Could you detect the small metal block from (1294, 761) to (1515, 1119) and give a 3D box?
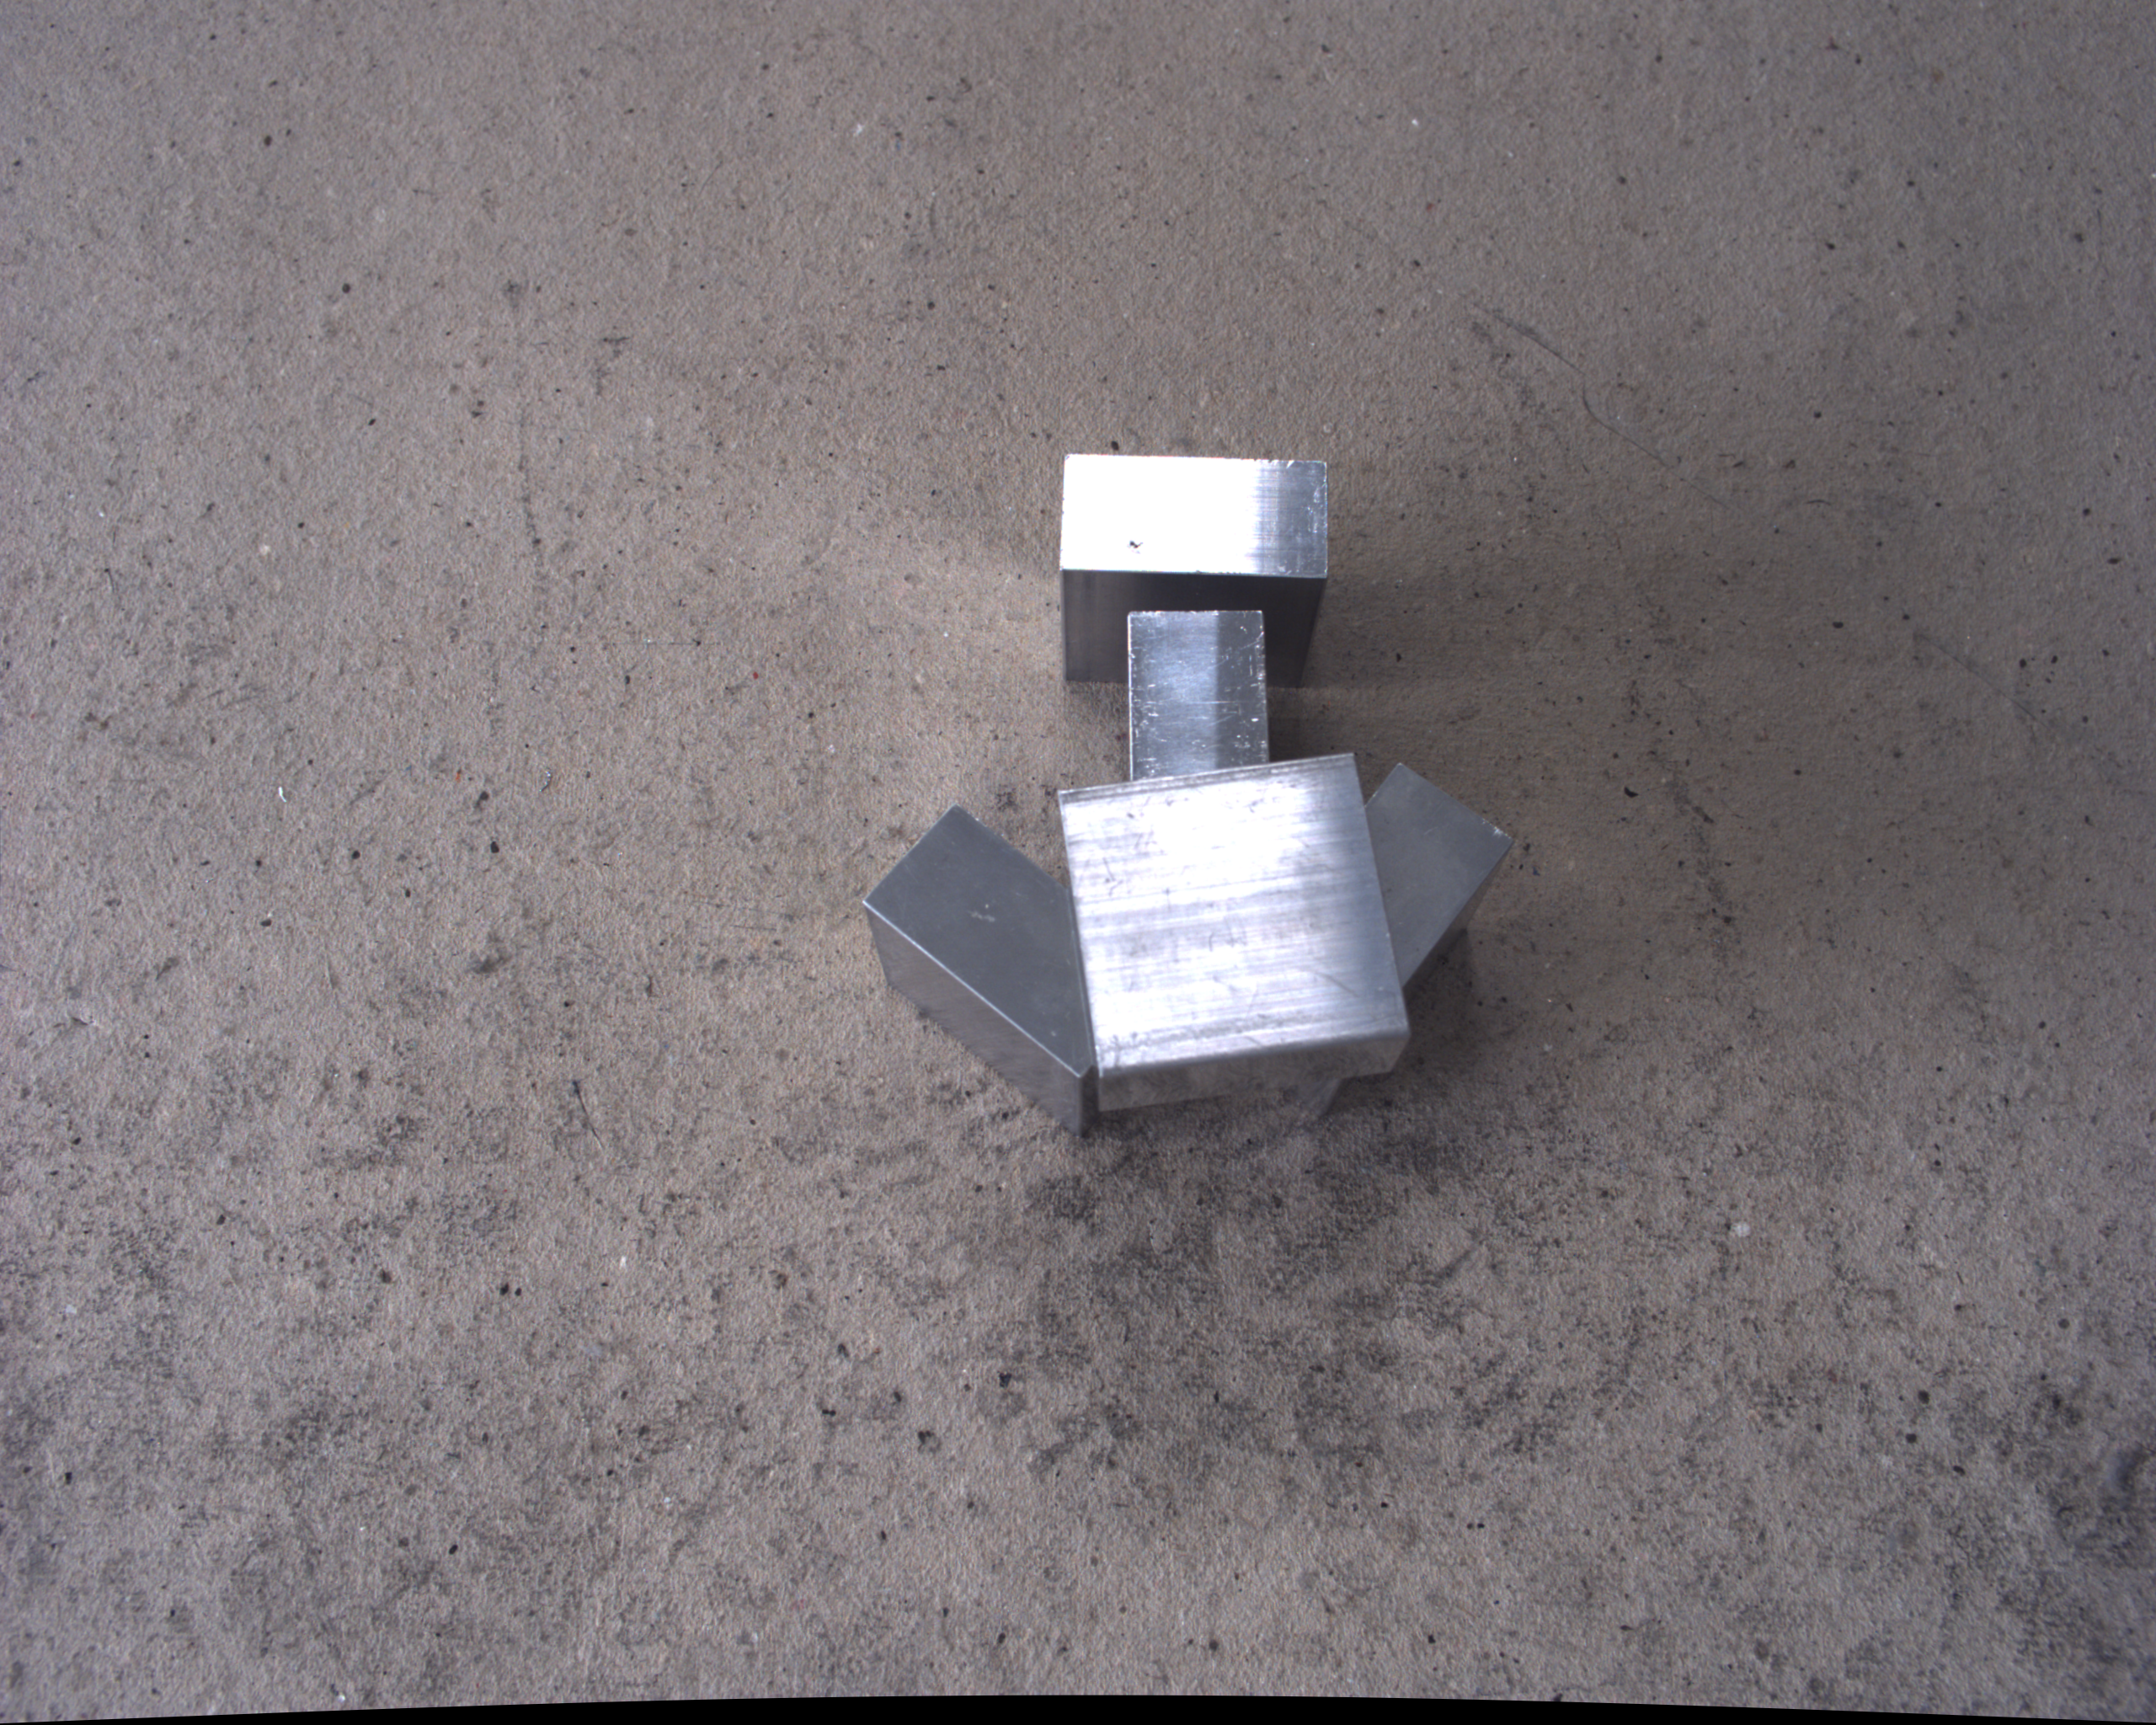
[{"bbox_3d":[0.053,0.016,0.391,0.025,0.050,0.050,36,74,12],"label":"small metal block"}]

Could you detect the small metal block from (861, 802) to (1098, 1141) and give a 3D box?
[{"bbox_3d":[-0.011,0.021,0.387,0.050,0.050,0.025,38,74,11],"label":"small metal block"}]

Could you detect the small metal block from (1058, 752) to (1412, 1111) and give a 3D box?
[{"bbox_3d":[0.025,0.012,0.353,0.050,0.025,0.050,-8,70,-3],"label":"small metal block"}]

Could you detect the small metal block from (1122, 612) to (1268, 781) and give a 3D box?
[{"bbox_3d":[0.022,-0.015,0.402,0.025,0.050,0.050,0,70,-1],"label":"small metal block"}]

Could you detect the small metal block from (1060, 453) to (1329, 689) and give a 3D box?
[{"bbox_3d":[0.022,-0.057,0.417,0.050,0.050,0.025,2,70,0],"label":"small metal block"}]
